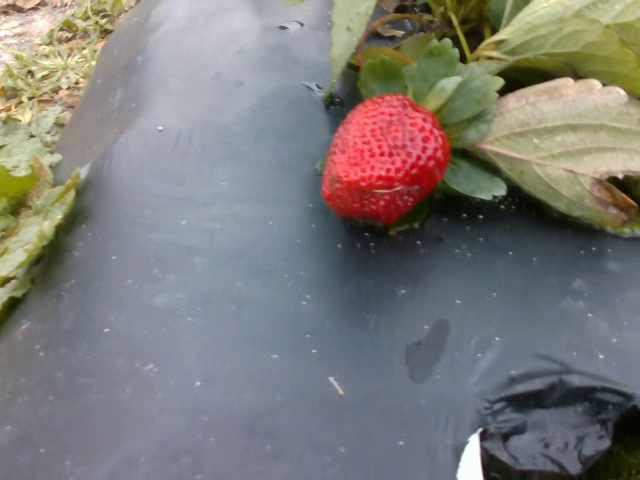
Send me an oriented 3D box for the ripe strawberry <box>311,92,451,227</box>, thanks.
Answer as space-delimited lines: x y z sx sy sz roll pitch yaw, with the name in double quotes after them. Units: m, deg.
0.016 -0.025 0.207 0.046 0.049 0.064 -43 -8 39 "ripe strawberry"
